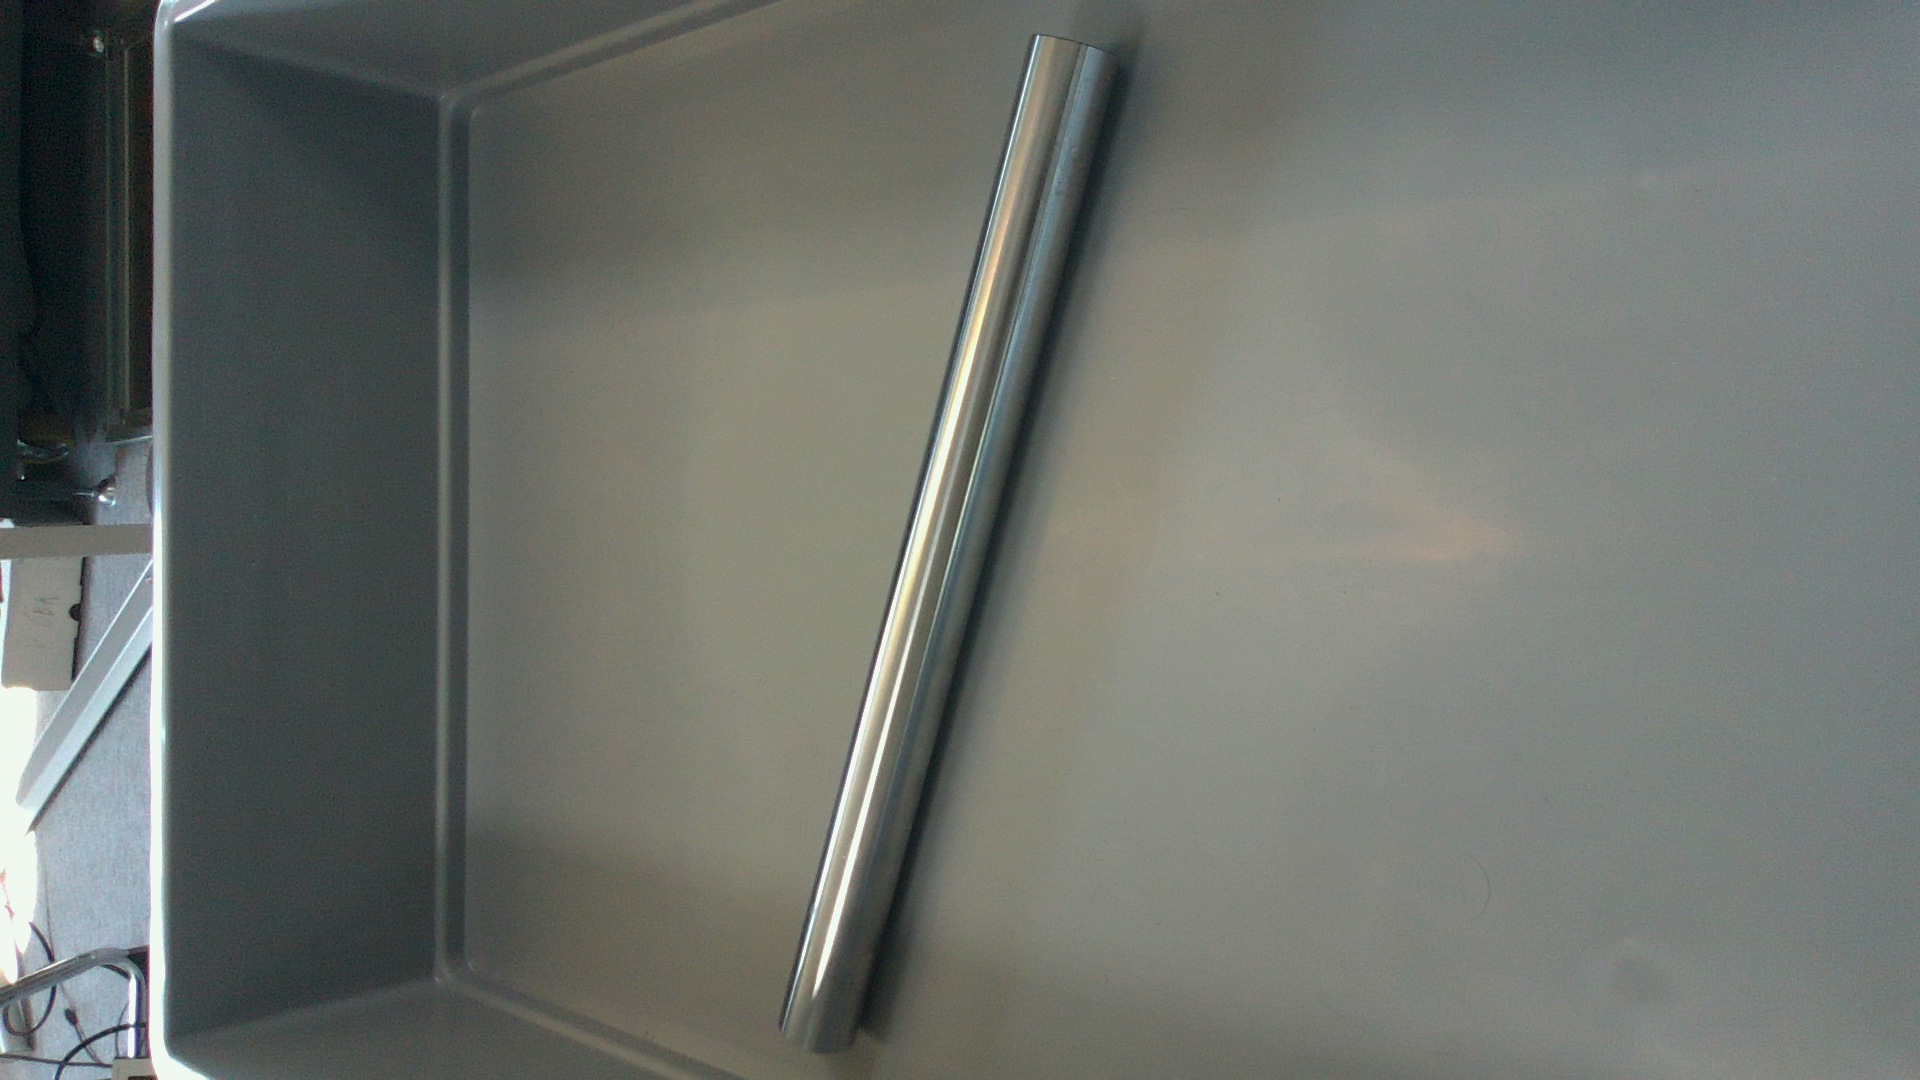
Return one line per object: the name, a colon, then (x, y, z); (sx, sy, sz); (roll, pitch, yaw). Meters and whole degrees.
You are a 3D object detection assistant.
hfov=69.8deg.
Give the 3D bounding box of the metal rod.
metal rod: (-0.008, 0.011, 0.399); (0.025, 0.025, 0.300); (25, 106, 37)
